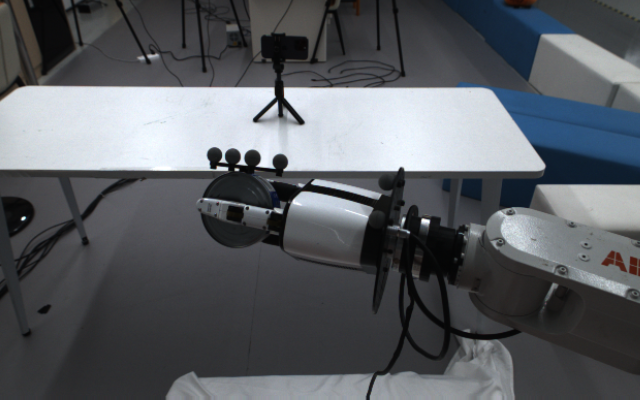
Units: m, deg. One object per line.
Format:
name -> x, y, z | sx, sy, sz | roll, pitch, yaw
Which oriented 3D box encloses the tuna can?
tuna can -> -0.088, 0.010, 0.552 | 0.085, 0.085, 0.034 | 11, 3, 13
